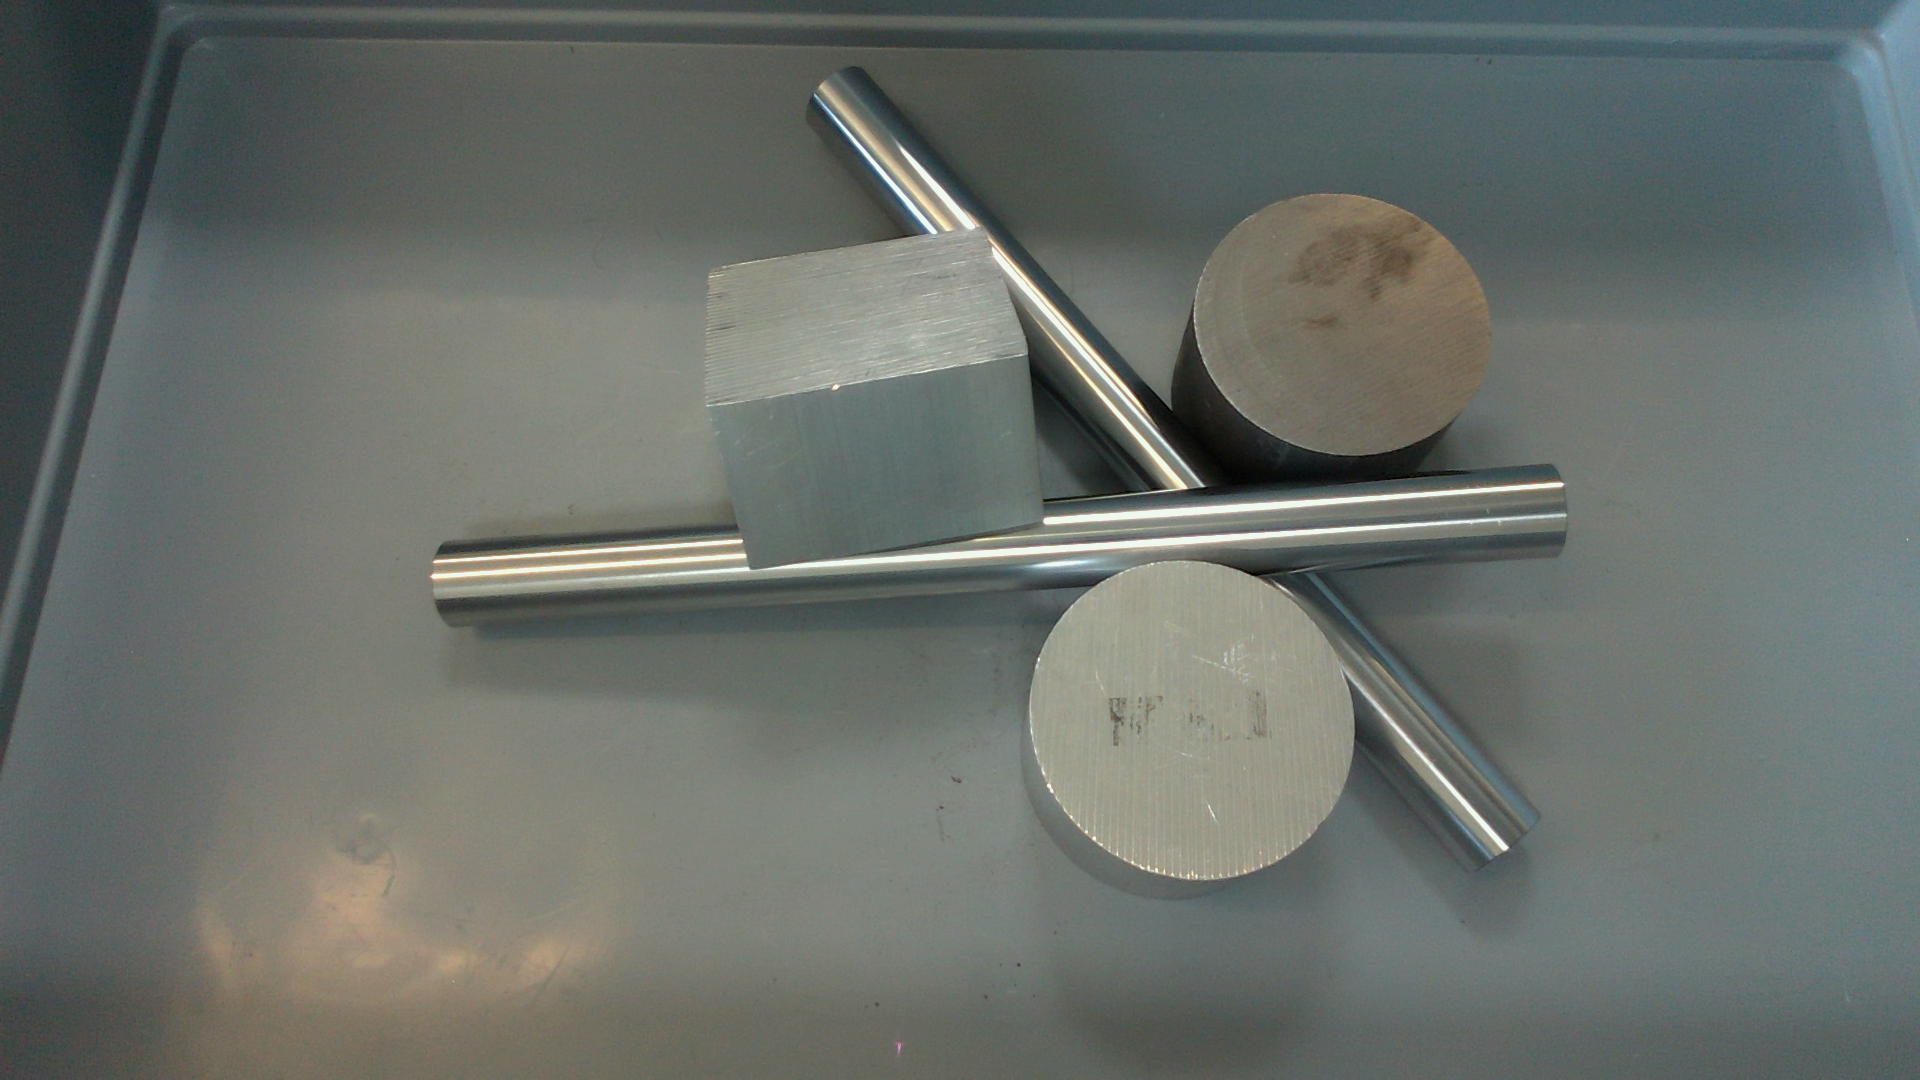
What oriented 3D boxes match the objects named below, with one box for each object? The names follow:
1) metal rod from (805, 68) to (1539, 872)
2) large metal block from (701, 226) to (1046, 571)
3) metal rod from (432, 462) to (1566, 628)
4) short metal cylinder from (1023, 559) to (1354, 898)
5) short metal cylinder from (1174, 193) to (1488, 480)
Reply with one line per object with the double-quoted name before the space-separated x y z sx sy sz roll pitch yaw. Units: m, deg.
"metal rod" 0.052 -0.031 0.405 0.025 0.025 0.300 -36 74 -12
"large metal block" -0.025 -0.041 0.376 0.080 0.050 0.080 -10 35 -3
"metal rod" 0.006 0.002 0.375 0.300 0.025 0.025 -4 70 5
"short metal cylinder" 0.057 0.051 0.361 0.080 0.050 0.080 0 70 0
"short metal cylinder" 0.104 -0.052 0.400 0.080 0.050 0.080 0 70 0
